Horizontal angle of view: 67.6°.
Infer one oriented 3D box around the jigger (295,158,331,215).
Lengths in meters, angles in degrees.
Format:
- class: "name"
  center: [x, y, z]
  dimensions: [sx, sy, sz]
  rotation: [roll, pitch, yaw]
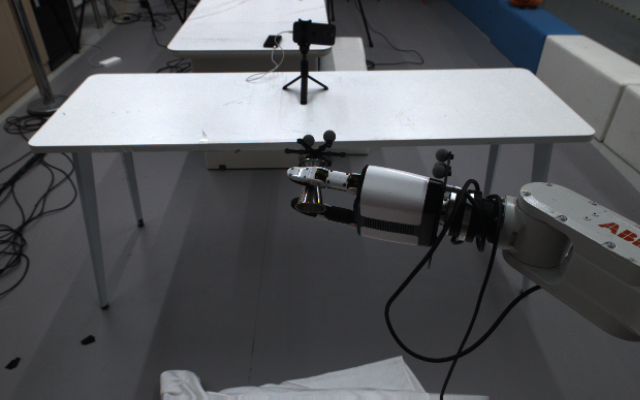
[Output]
- class: "jigger"
  center: [-0.012, -0.021, 0.687]
  dimensions: [0.043, 0.043, 0.071]
  rotation: [4, 71, 3]
